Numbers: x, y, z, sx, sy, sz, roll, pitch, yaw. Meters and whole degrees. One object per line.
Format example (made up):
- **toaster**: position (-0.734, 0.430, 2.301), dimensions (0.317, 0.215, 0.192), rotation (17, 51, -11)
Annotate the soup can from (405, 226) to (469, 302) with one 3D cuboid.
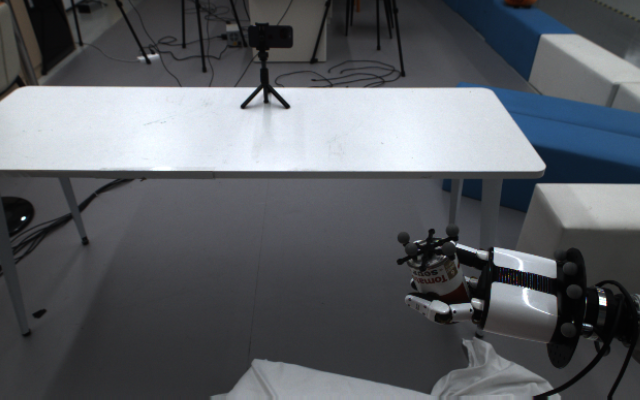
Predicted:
- **soup can**: position (0.168, 0.110, 0.670), dimensions (0.067, 0.101, 0.067), rotation (-21, 24, 10)
